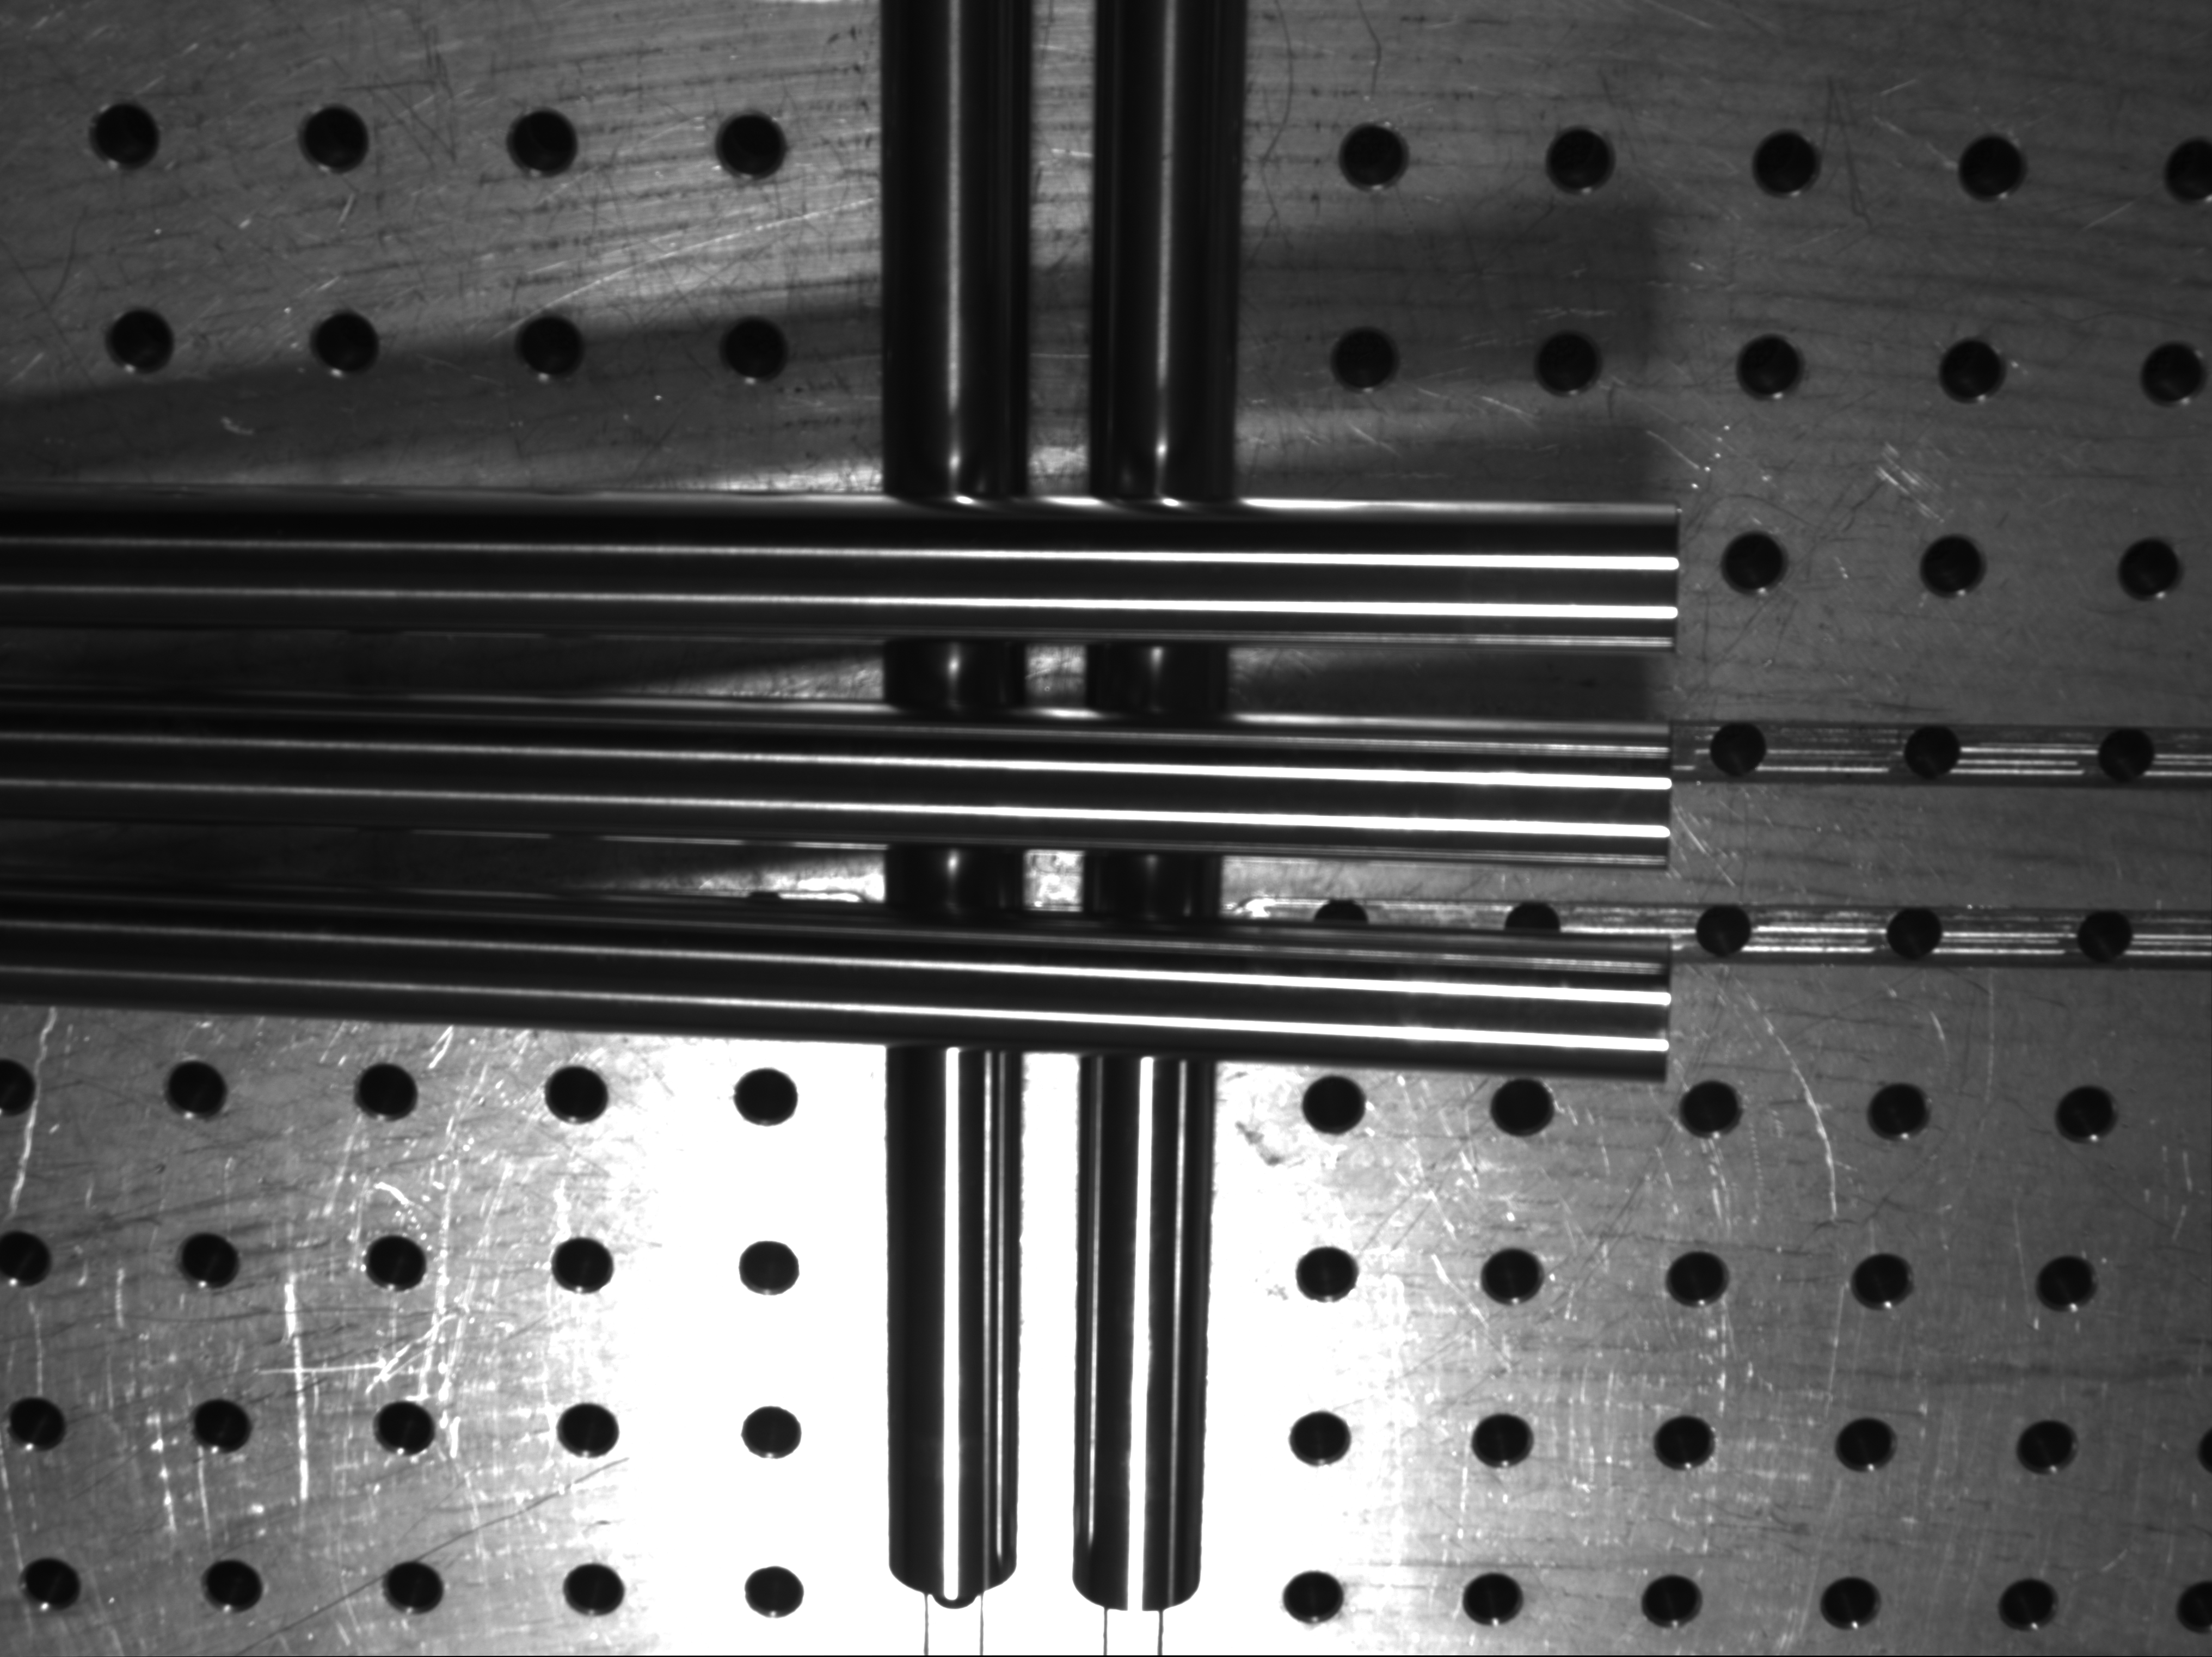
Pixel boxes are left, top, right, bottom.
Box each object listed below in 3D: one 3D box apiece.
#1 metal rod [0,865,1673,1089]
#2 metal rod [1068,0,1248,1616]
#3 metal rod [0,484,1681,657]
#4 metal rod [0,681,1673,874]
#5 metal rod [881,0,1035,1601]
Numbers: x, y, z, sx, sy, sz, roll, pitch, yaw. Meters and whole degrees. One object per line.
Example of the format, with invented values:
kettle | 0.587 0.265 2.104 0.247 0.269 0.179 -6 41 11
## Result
metal rod | -0.054 0.025 0.632 0.300 0.025 0.025 2 110 8
metal rod | 0.008 0.002 0.647 0.025 0.025 0.300 1 110 -1
metal rod | -0.057 -0.043 0.607 0.300 0.025 0.025 1 110 8
metal rod | -0.056 -0.009 0.620 0.300 0.025 0.025 2 110 7
metal rod | -0.027 -0.001 0.645 0.025 0.025 0.300 1 110 -1
